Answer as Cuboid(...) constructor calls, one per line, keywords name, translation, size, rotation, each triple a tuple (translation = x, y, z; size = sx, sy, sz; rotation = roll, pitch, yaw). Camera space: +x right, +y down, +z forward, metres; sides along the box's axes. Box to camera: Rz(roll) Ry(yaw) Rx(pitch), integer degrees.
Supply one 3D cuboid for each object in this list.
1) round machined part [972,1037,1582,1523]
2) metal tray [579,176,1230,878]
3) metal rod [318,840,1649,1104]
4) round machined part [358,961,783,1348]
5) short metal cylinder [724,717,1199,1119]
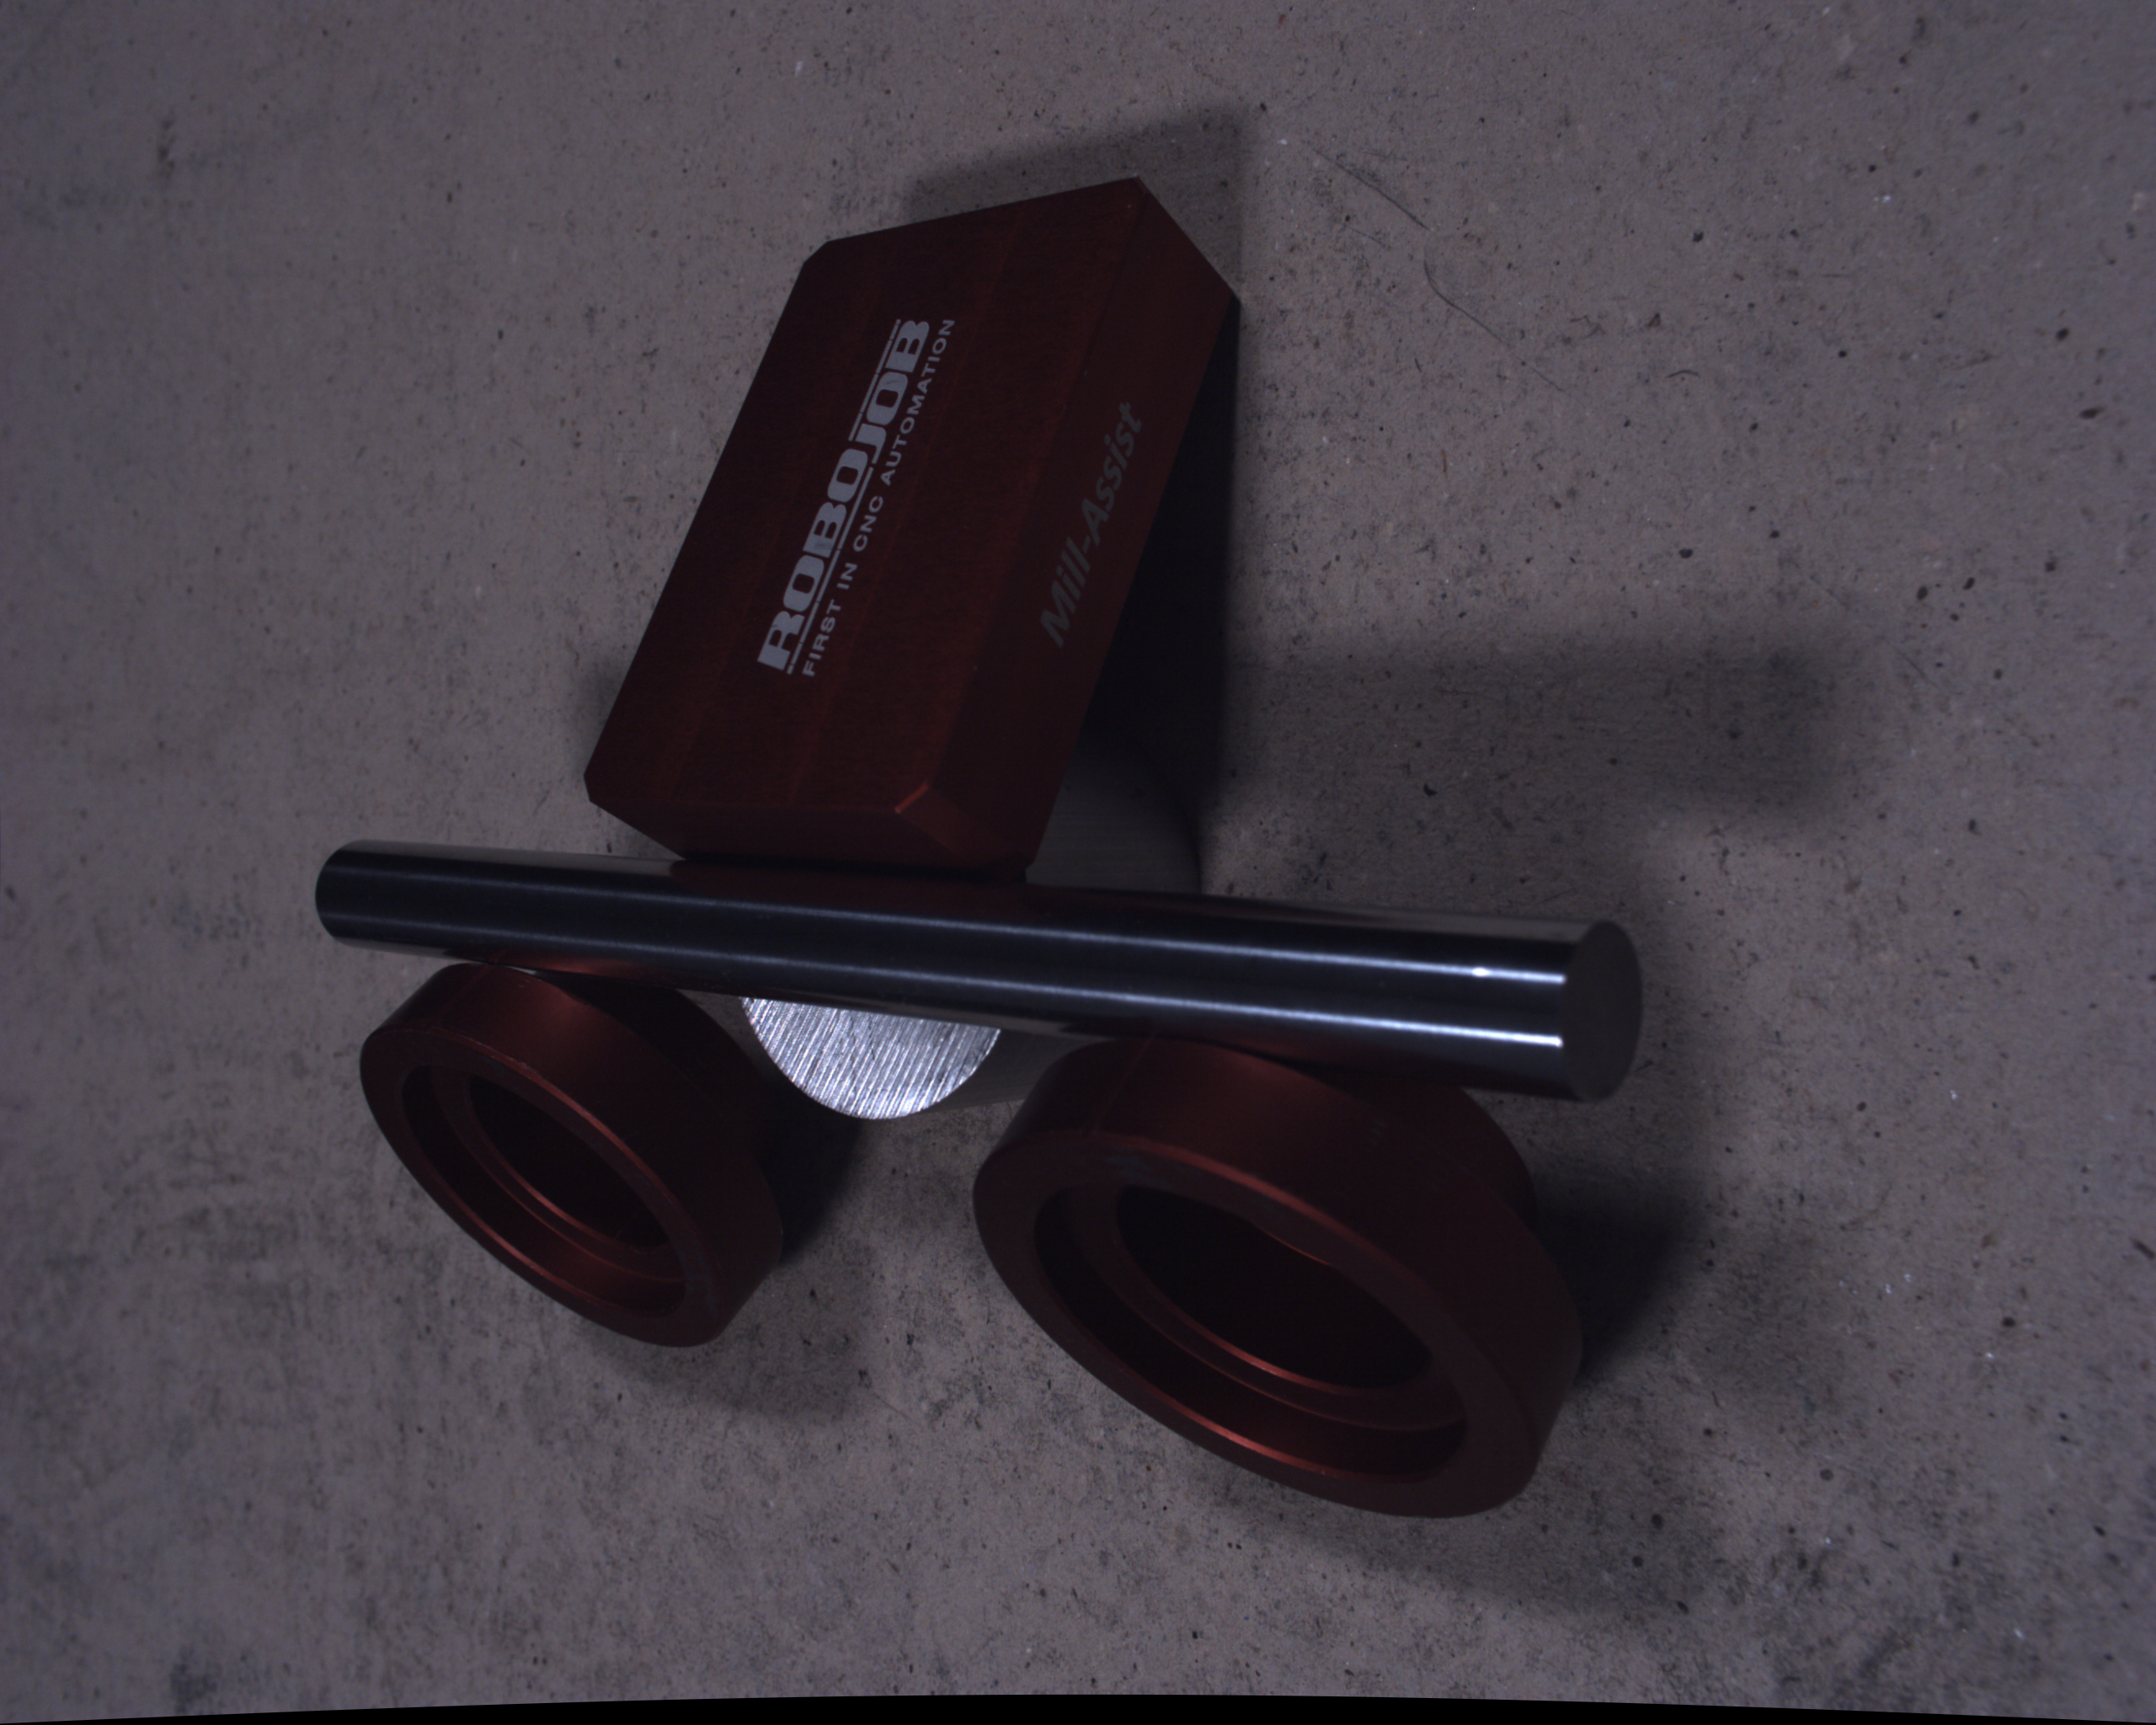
Cuboid(name="round machined part", translation=(0.035, 0.061, 0.342), size=(0.098, 0.042, 0.097), rotation=(22, 144, 18))
Cuboid(name="metal tray", translation=(-0.033, -0.062, 0.393), size=(0.090, 0.030, 0.130), rotation=(3, 66, 39))
Cuboid(name="metal rod", translation=(-0.044, 0.014, 0.377), size=(0.300, 0.025, 0.025), rotation=(3, 92, 39))
Cuboid(name="round machined part", translation=(-0.105, 0.058, 0.459), size=(0.098, 0.042, 0.097), rotation=(22, 140, 20))
Cuboid(name="short metal cylinder", translation=(-0.024, 0.008, 0.408), size=(0.080, 0.050, 0.079), rotation=(0, 90, 39))
